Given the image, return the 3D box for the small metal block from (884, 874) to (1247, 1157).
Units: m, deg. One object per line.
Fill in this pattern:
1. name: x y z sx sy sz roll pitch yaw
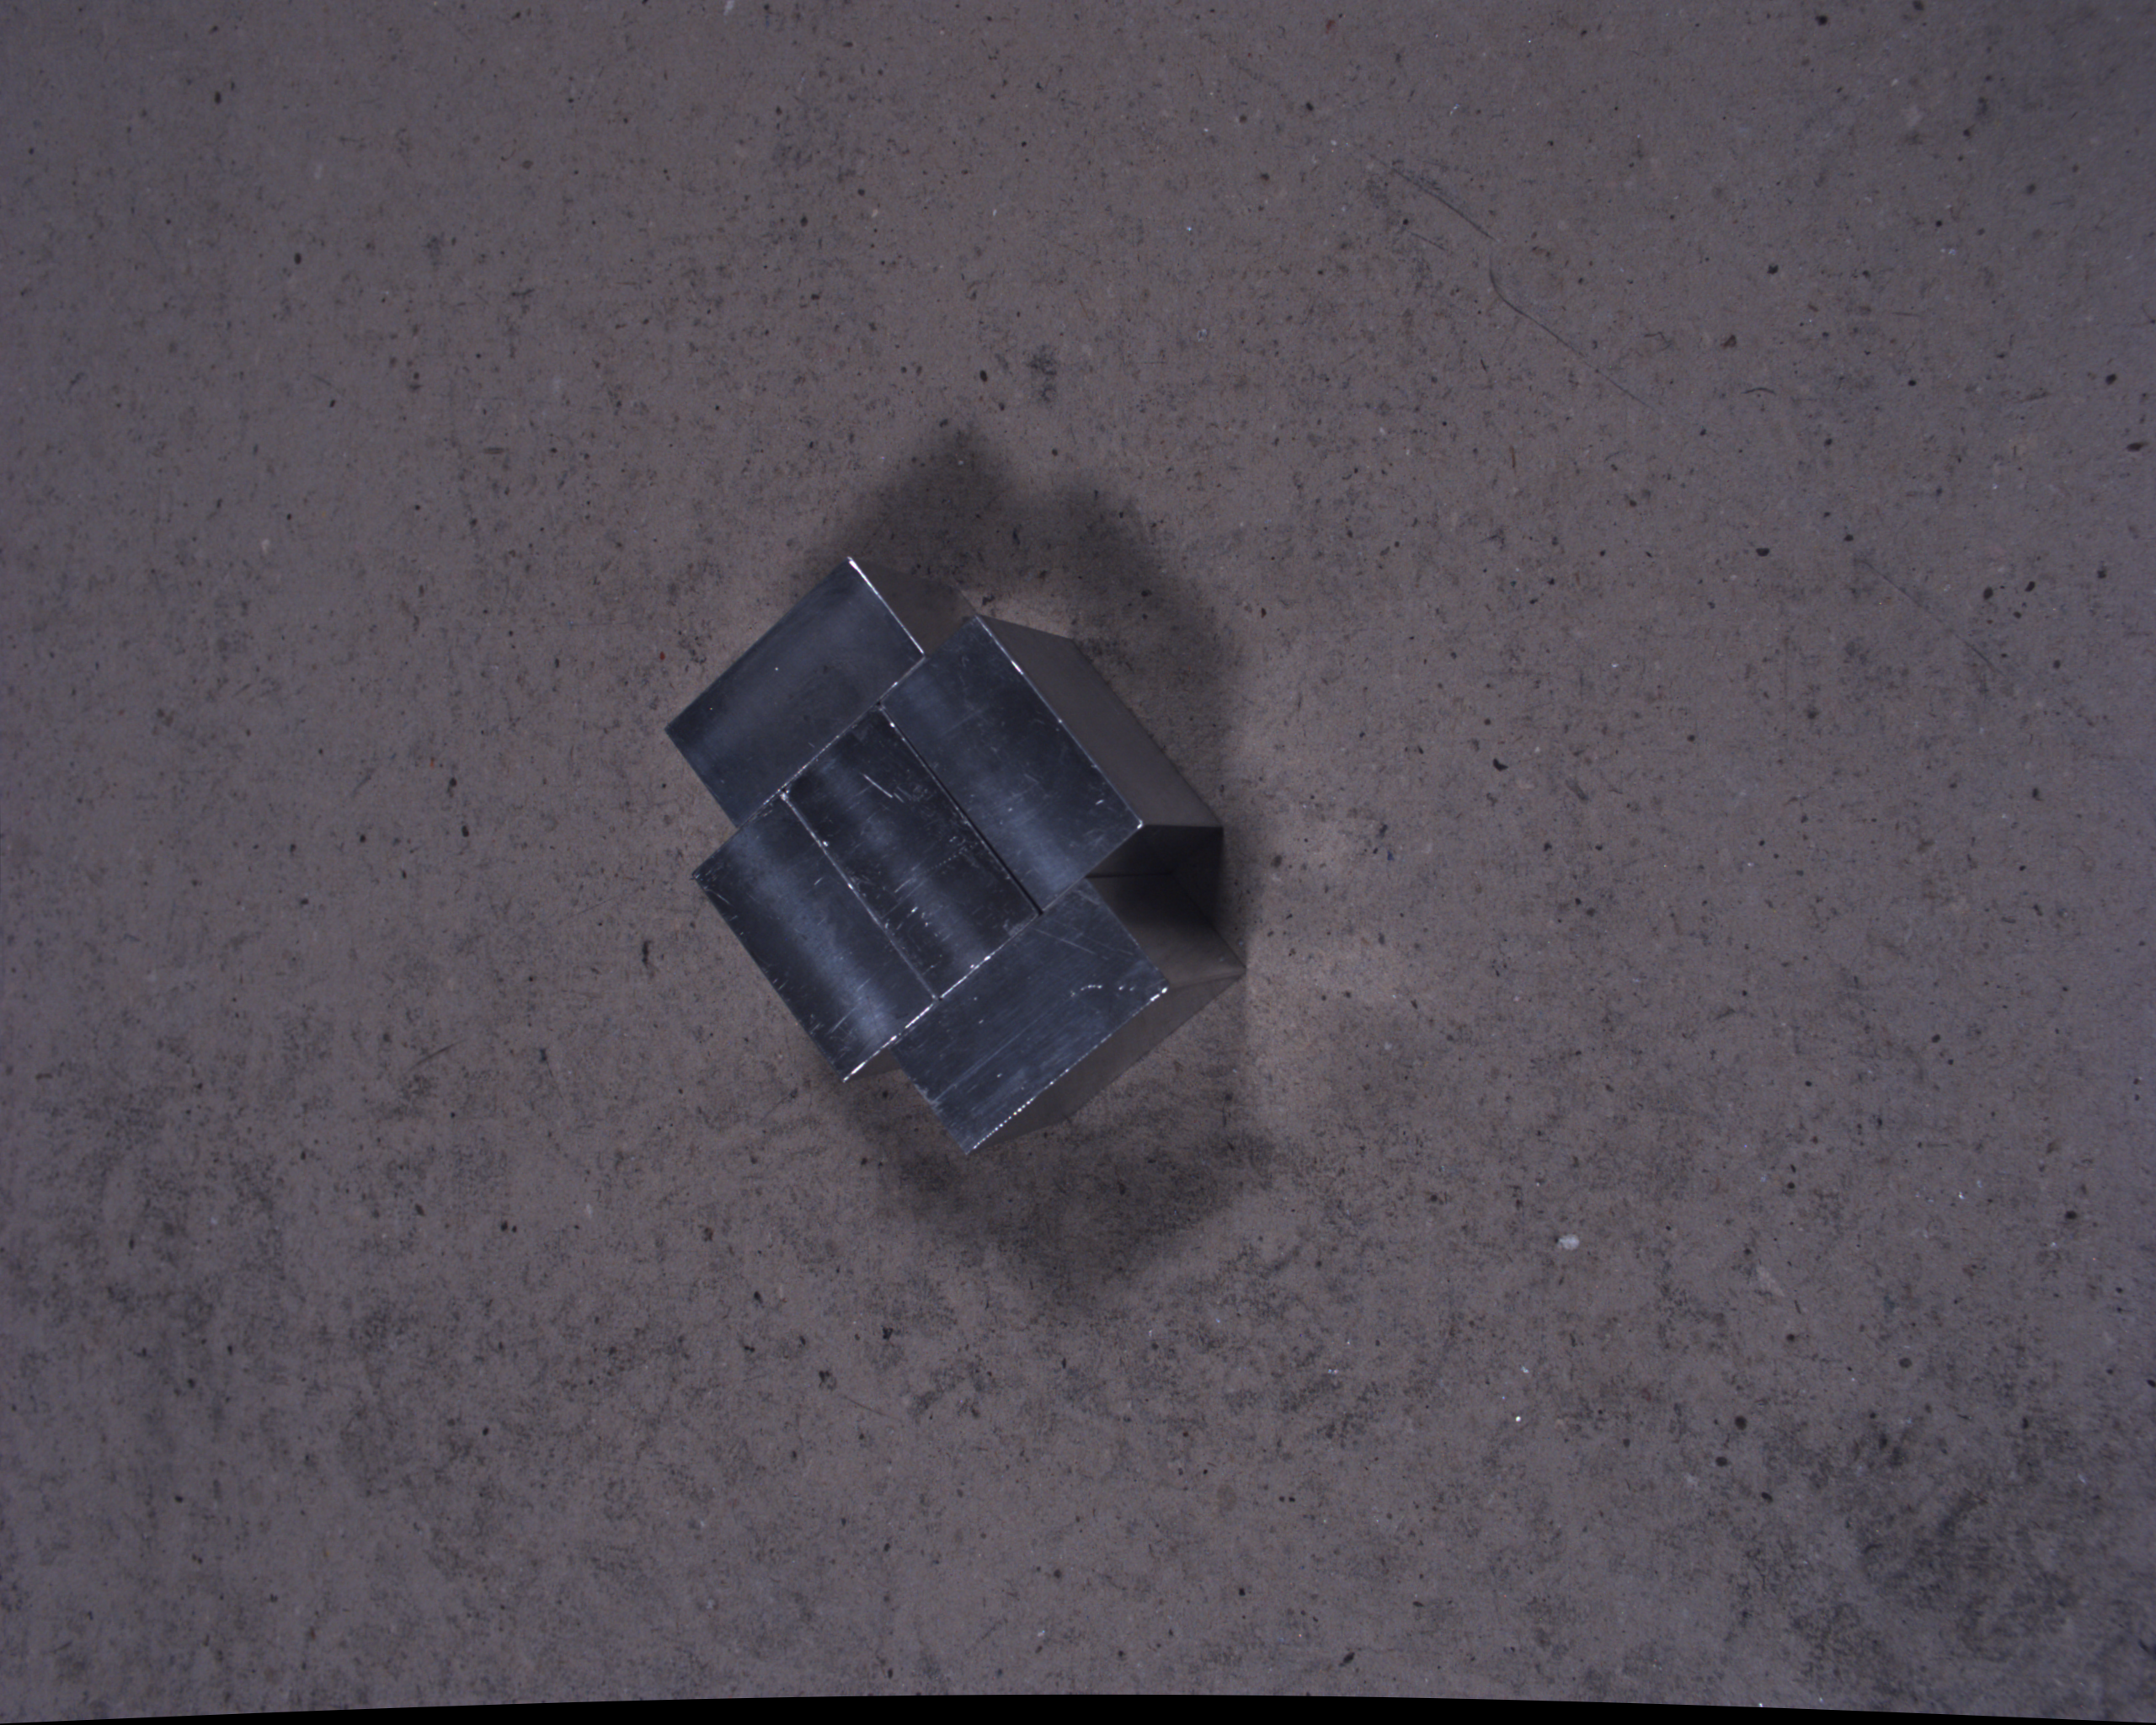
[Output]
1. small metal block: -0.001 0.028 0.396 0.050 0.050 0.025 -41 78 15

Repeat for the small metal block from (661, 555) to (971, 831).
1. small metal block: -0.045 -0.031 0.411 0.050 0.050 0.025 -41 78 15

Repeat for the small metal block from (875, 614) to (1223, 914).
1. small metal block: -0.004 -0.018 0.397 0.025 0.050 0.050 -42 77 15

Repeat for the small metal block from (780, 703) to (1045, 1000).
1. small metal block: -0.023 -0.002 0.403 0.025 0.050 0.050 -42 77 15

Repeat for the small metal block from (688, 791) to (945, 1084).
1. small metal block: -0.041 0.014 0.410 0.025 0.050 0.050 -42 77 15
